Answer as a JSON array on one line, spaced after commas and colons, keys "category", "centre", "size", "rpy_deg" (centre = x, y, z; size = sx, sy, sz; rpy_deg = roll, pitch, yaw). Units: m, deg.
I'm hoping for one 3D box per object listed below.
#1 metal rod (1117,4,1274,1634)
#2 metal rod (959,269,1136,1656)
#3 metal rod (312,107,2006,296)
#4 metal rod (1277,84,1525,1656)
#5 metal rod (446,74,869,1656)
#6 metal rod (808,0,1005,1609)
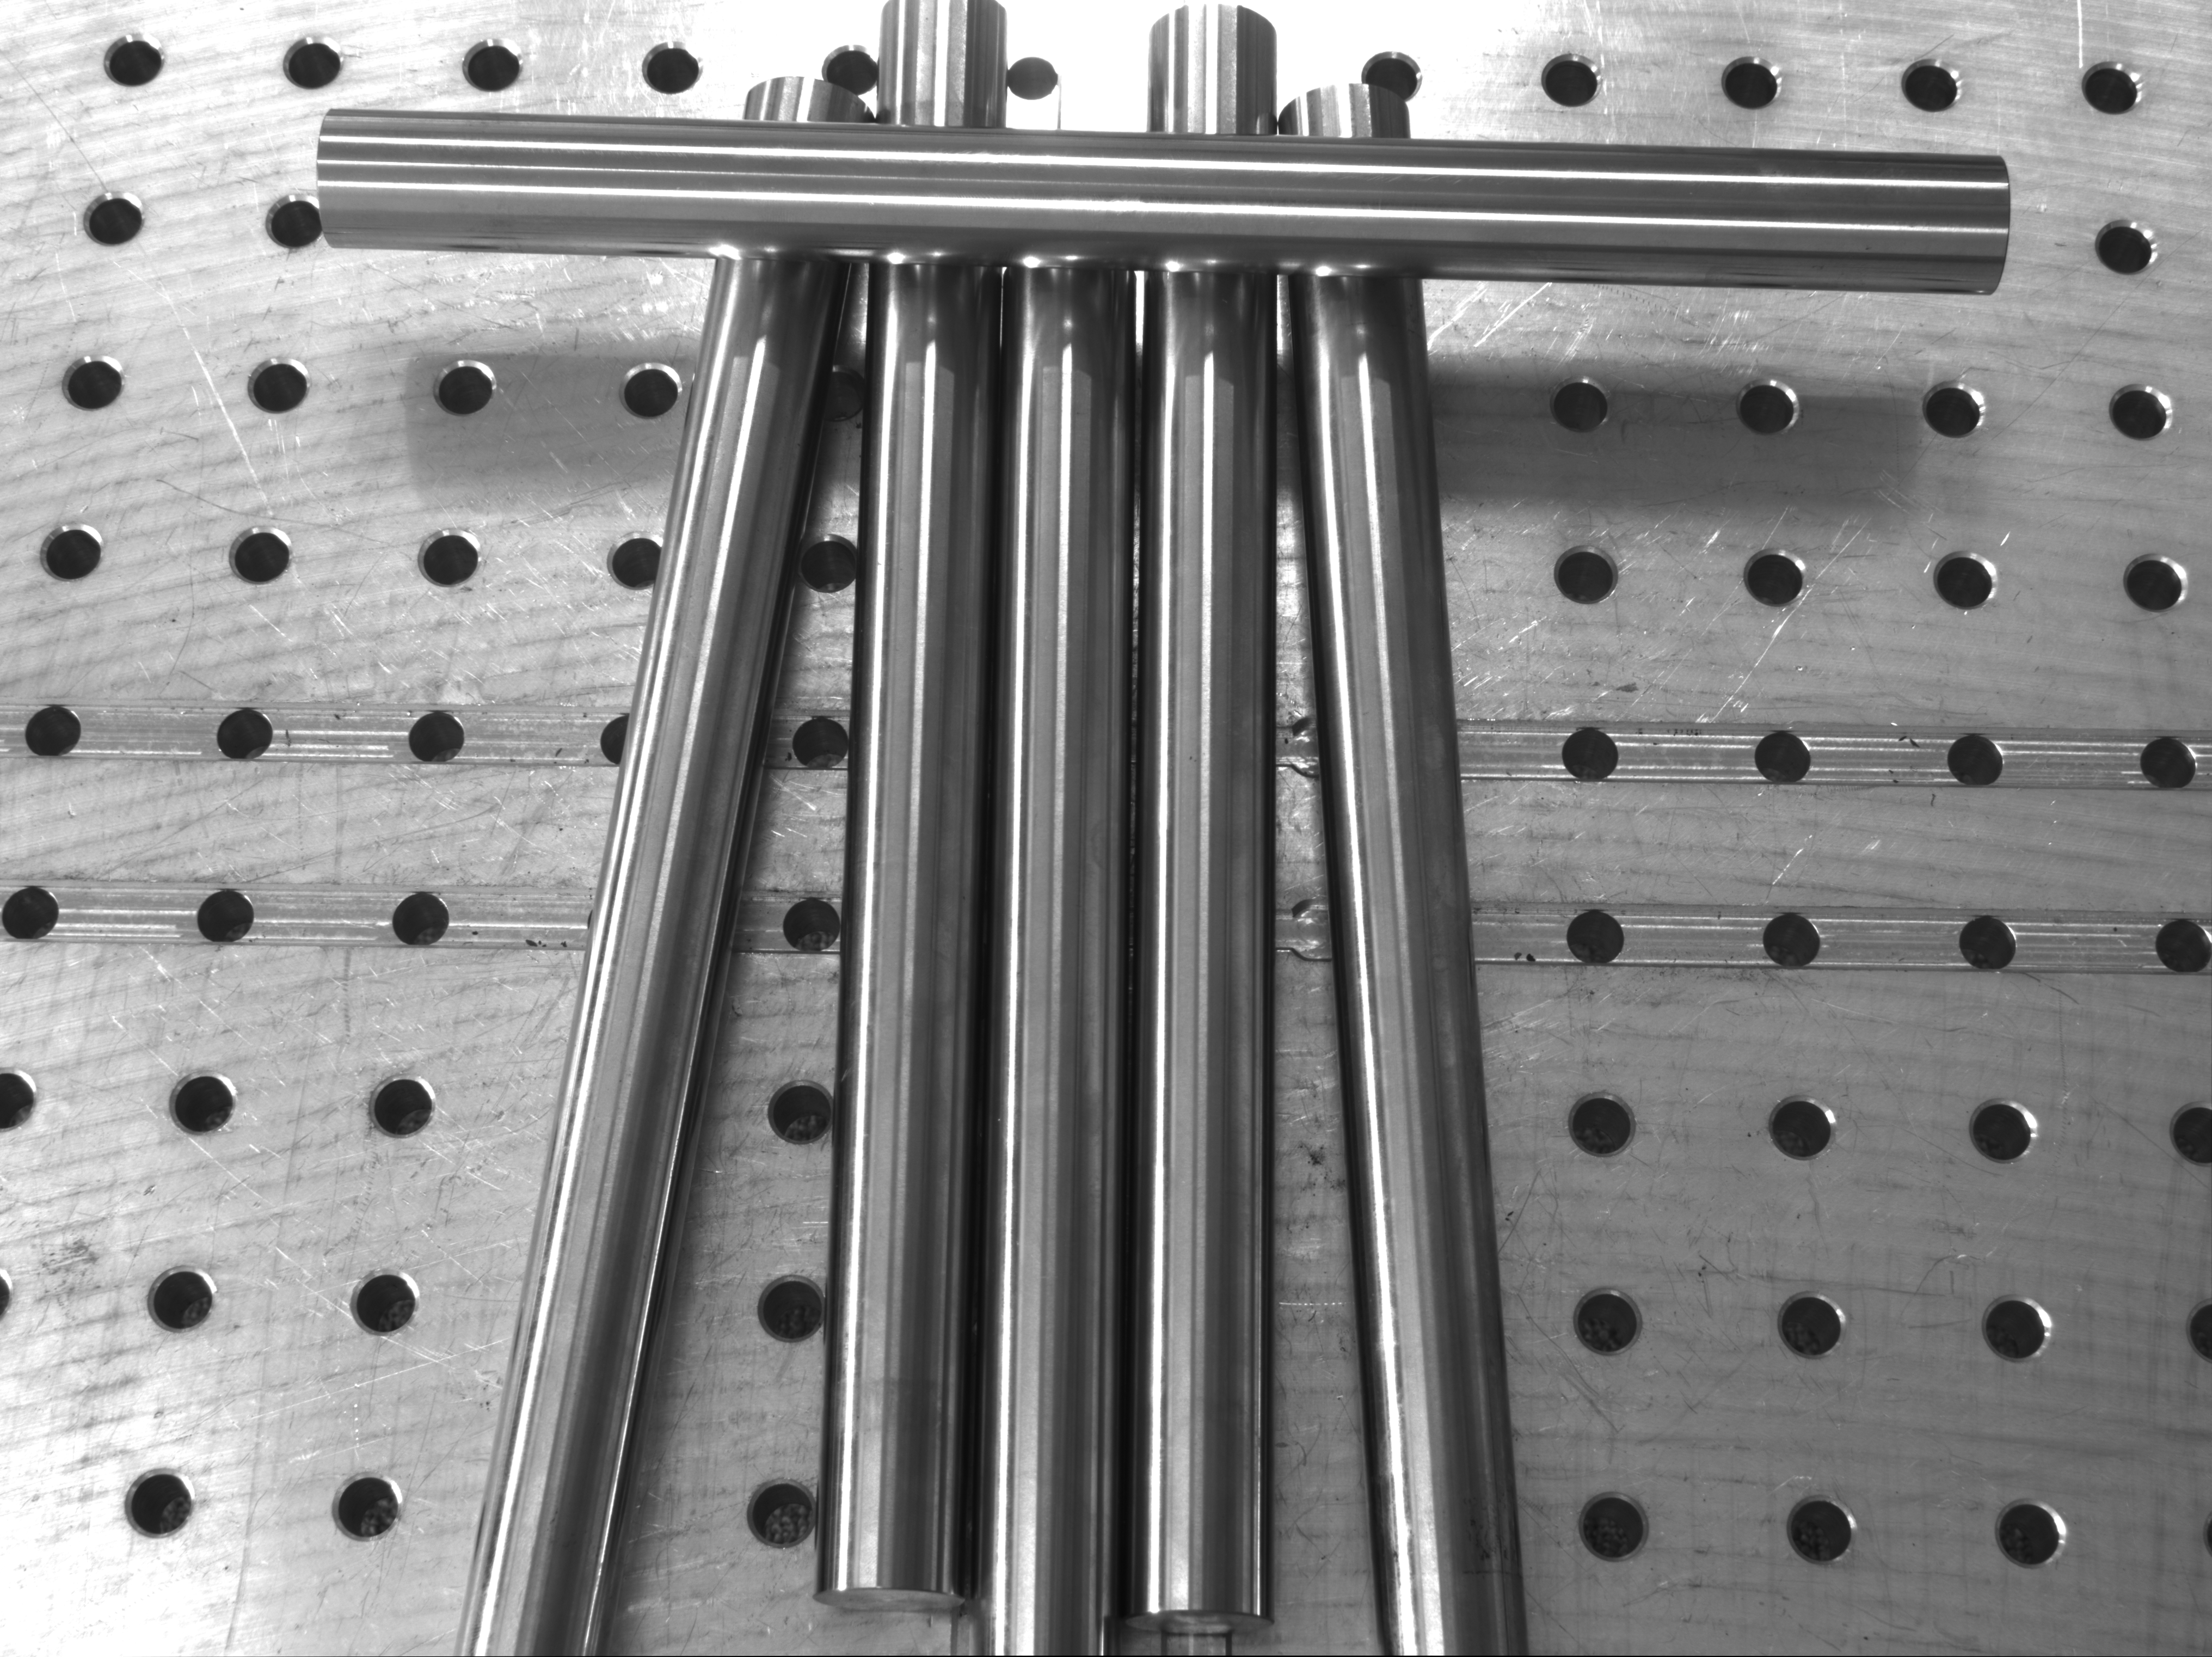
[{"category": "metal rod", "centre": [0.017, -0.011, 0.653], "size": [0.025, 0.025, 0.300], "rpy_deg": [1, 70, 1]}, {"category": "metal rod", "centre": [-0.010, 0.038, 0.634], "size": [0.025, 0.025, 0.300], "rpy_deg": [1, 70, 1]}, {"category": "metal rod", "centre": [0.009, -0.113, 0.663], "size": [0.300, 0.025, 0.025], "rpy_deg": [2, 70, 1]}, {"category": "metal rod", "centre": [0.051, 0.006, 0.646], "size": [0.025, 0.025, 0.300], "rpy_deg": [-2, 70, -1]}, {"category": "metal rod", "centre": [-0.076, 0.003, 0.645], "size": [0.025, 0.025, 0.300], "rpy_deg": [7, 70, 3]}, {"category": "metal rod", "centre": [-0.034, -0.014, 0.654], "size": [0.025, 0.025, 0.300], "rpy_deg": [1, 70, 0]}]
